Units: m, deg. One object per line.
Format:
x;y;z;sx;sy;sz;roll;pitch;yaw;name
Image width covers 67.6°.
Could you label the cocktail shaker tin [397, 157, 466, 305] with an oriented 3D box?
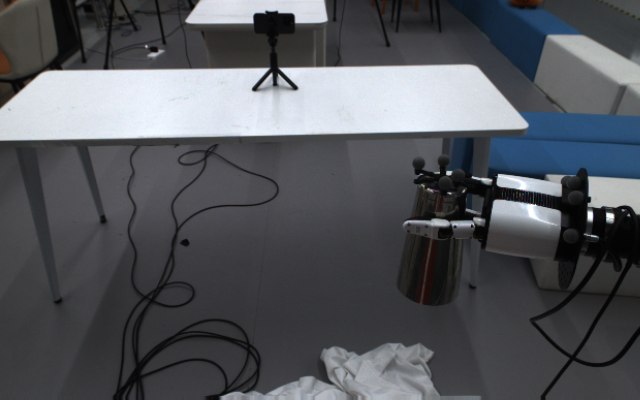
0.166;0.050;0.695;0.093;0.170;0.093;1;27;-1;cocktail shaker tin
